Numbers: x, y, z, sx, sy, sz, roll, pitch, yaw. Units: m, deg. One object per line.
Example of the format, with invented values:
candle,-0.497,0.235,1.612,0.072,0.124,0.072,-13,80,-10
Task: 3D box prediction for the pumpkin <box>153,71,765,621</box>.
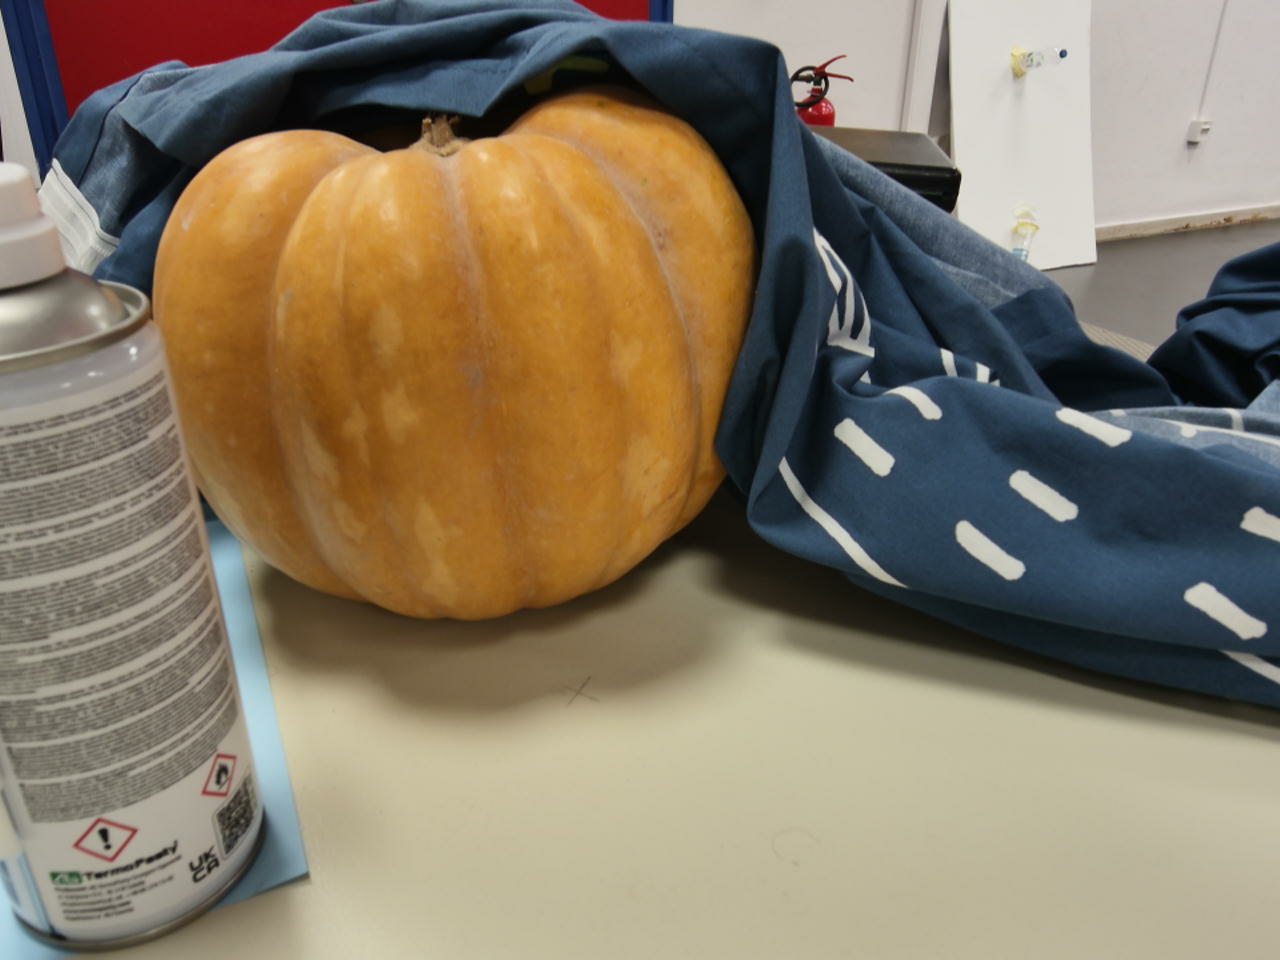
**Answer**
pumpkin,-0.061,-0.053,0.389,0.230,0.194,0.230,0,25,0
